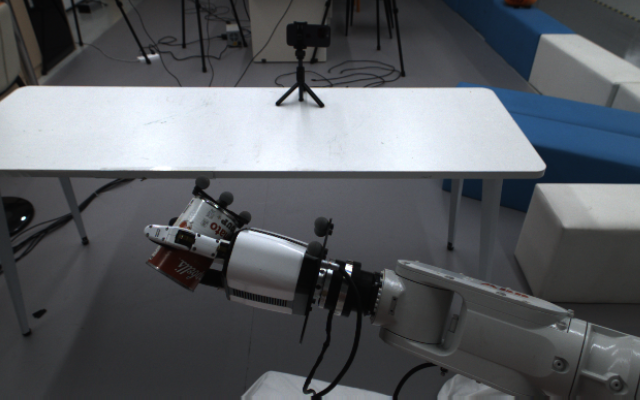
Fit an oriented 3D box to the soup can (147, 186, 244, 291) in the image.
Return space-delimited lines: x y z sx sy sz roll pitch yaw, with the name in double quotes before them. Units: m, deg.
"soup can" -0.155 0.055 0.597 0.067 0.067 0.101 23 71 27
